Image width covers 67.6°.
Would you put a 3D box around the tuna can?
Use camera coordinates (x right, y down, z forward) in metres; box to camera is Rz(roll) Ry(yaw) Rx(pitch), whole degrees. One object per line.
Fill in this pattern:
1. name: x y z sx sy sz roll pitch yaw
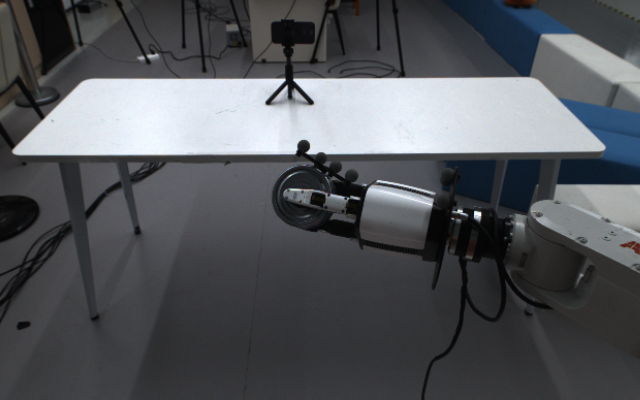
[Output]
1. tuna can: -0.020 -0.005 0.655 0.085 0.085 0.034 13 -4 15
